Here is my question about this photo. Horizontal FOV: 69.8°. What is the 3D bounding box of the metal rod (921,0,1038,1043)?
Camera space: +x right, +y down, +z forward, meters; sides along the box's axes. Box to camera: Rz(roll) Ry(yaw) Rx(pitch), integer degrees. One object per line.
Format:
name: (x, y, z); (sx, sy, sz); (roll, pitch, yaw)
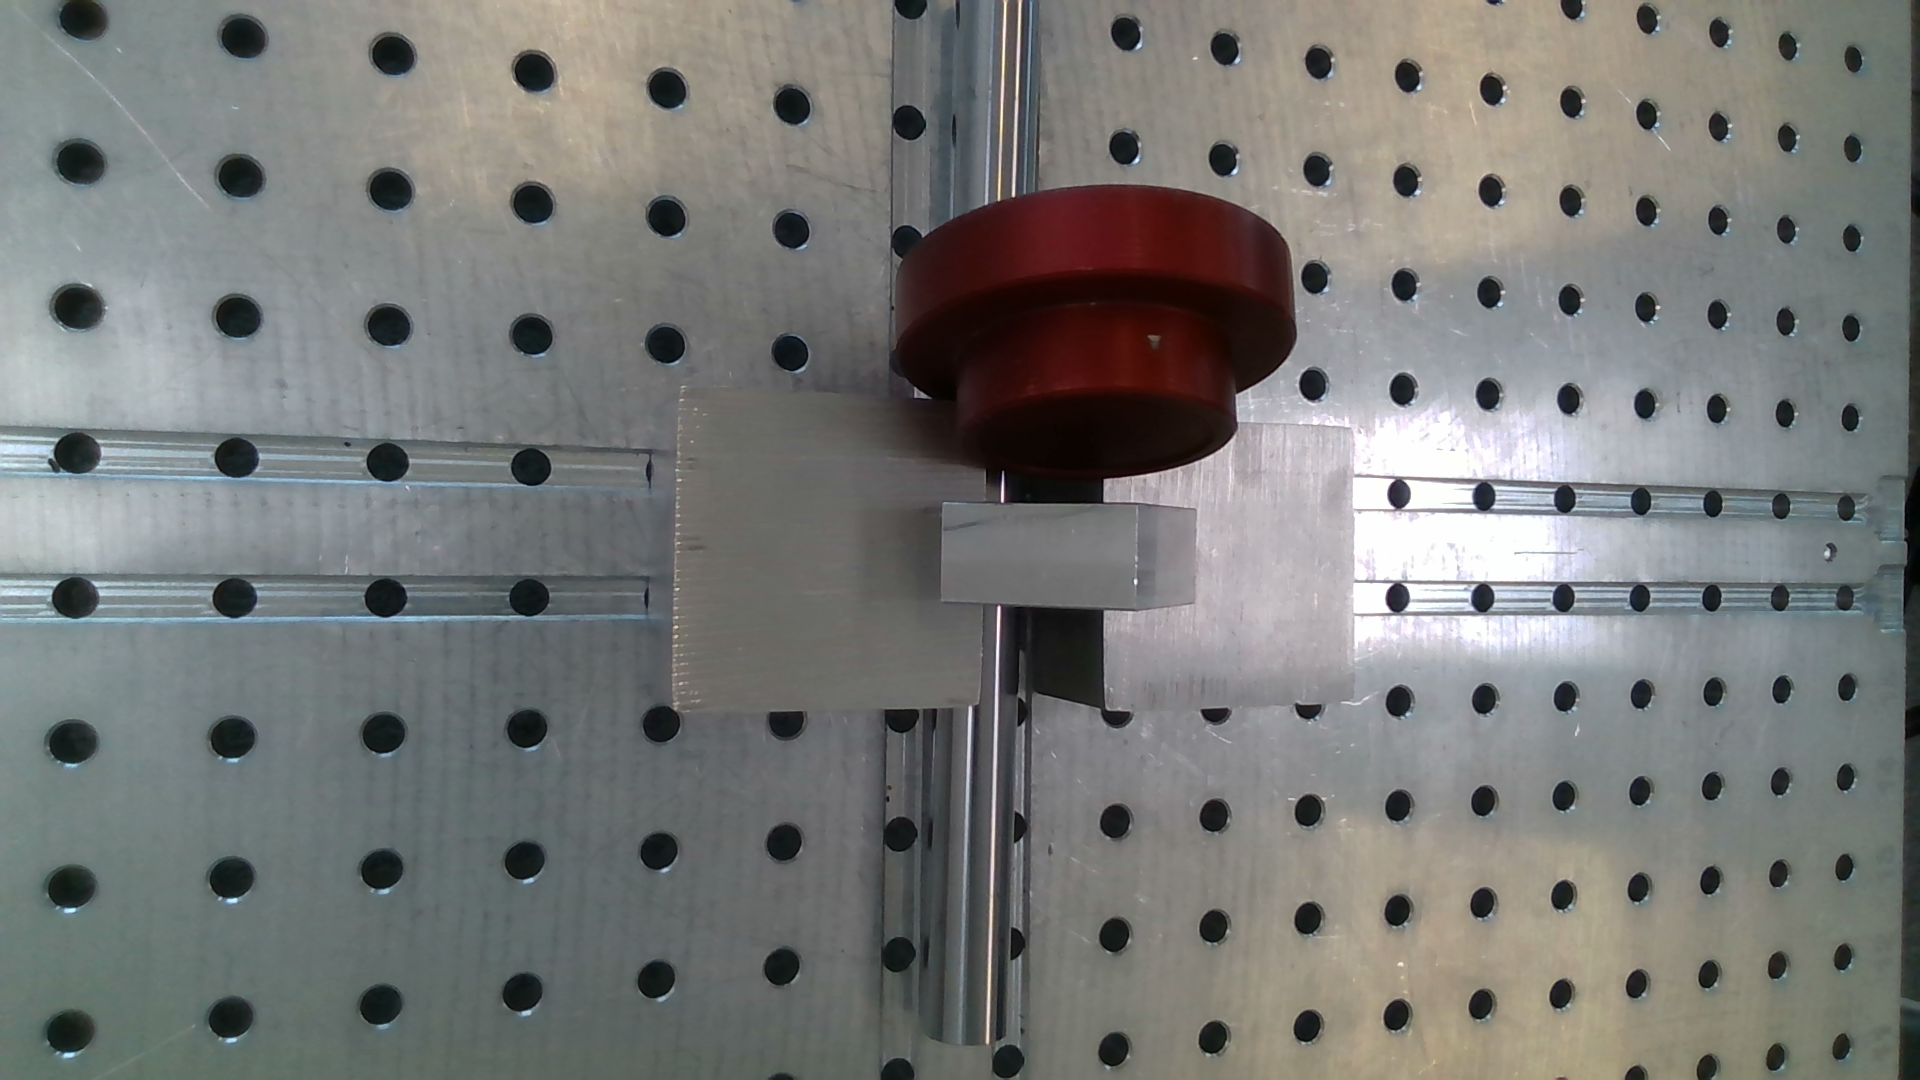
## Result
metal rod: (0.006, -0.009, 0.398); (0.025, 0.025, 0.300); (2, 90, -20)

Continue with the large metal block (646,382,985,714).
large metal block: (-0.040, 0.003, 0.369); (0.080, 0.050, 0.080); (1, 90, -20)

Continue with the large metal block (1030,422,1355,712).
large metal block: (0.068, 0.007, 0.408); (0.080, 0.050, 0.080); (1, 90, -20)

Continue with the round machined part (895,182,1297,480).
round machined part: (0.033, -0.045, 0.339); (0.098, 0.098, 0.042); (4, 74, -20)

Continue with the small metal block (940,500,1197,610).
small metal block: (0.029, 0.004, 0.347); (0.050, 0.050, 0.025); (1, 89, -64)
